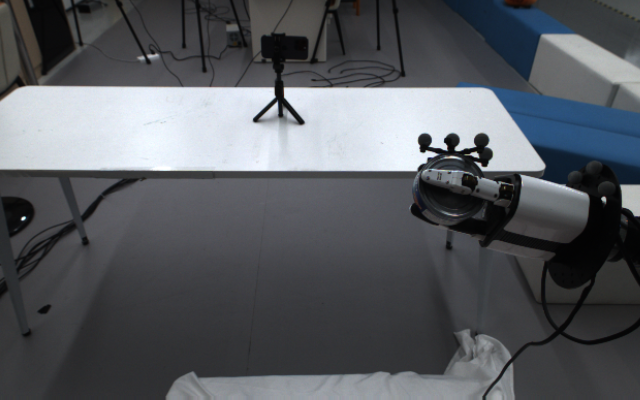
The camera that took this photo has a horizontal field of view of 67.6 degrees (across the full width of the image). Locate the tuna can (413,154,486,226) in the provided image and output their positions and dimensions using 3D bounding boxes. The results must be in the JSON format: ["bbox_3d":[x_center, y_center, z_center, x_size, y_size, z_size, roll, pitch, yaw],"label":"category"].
[{"bbox_3d":[0.161,-0.017,0.601,0.085,0.034,0.085,1,73,-4],"label":"tuna can"}]
